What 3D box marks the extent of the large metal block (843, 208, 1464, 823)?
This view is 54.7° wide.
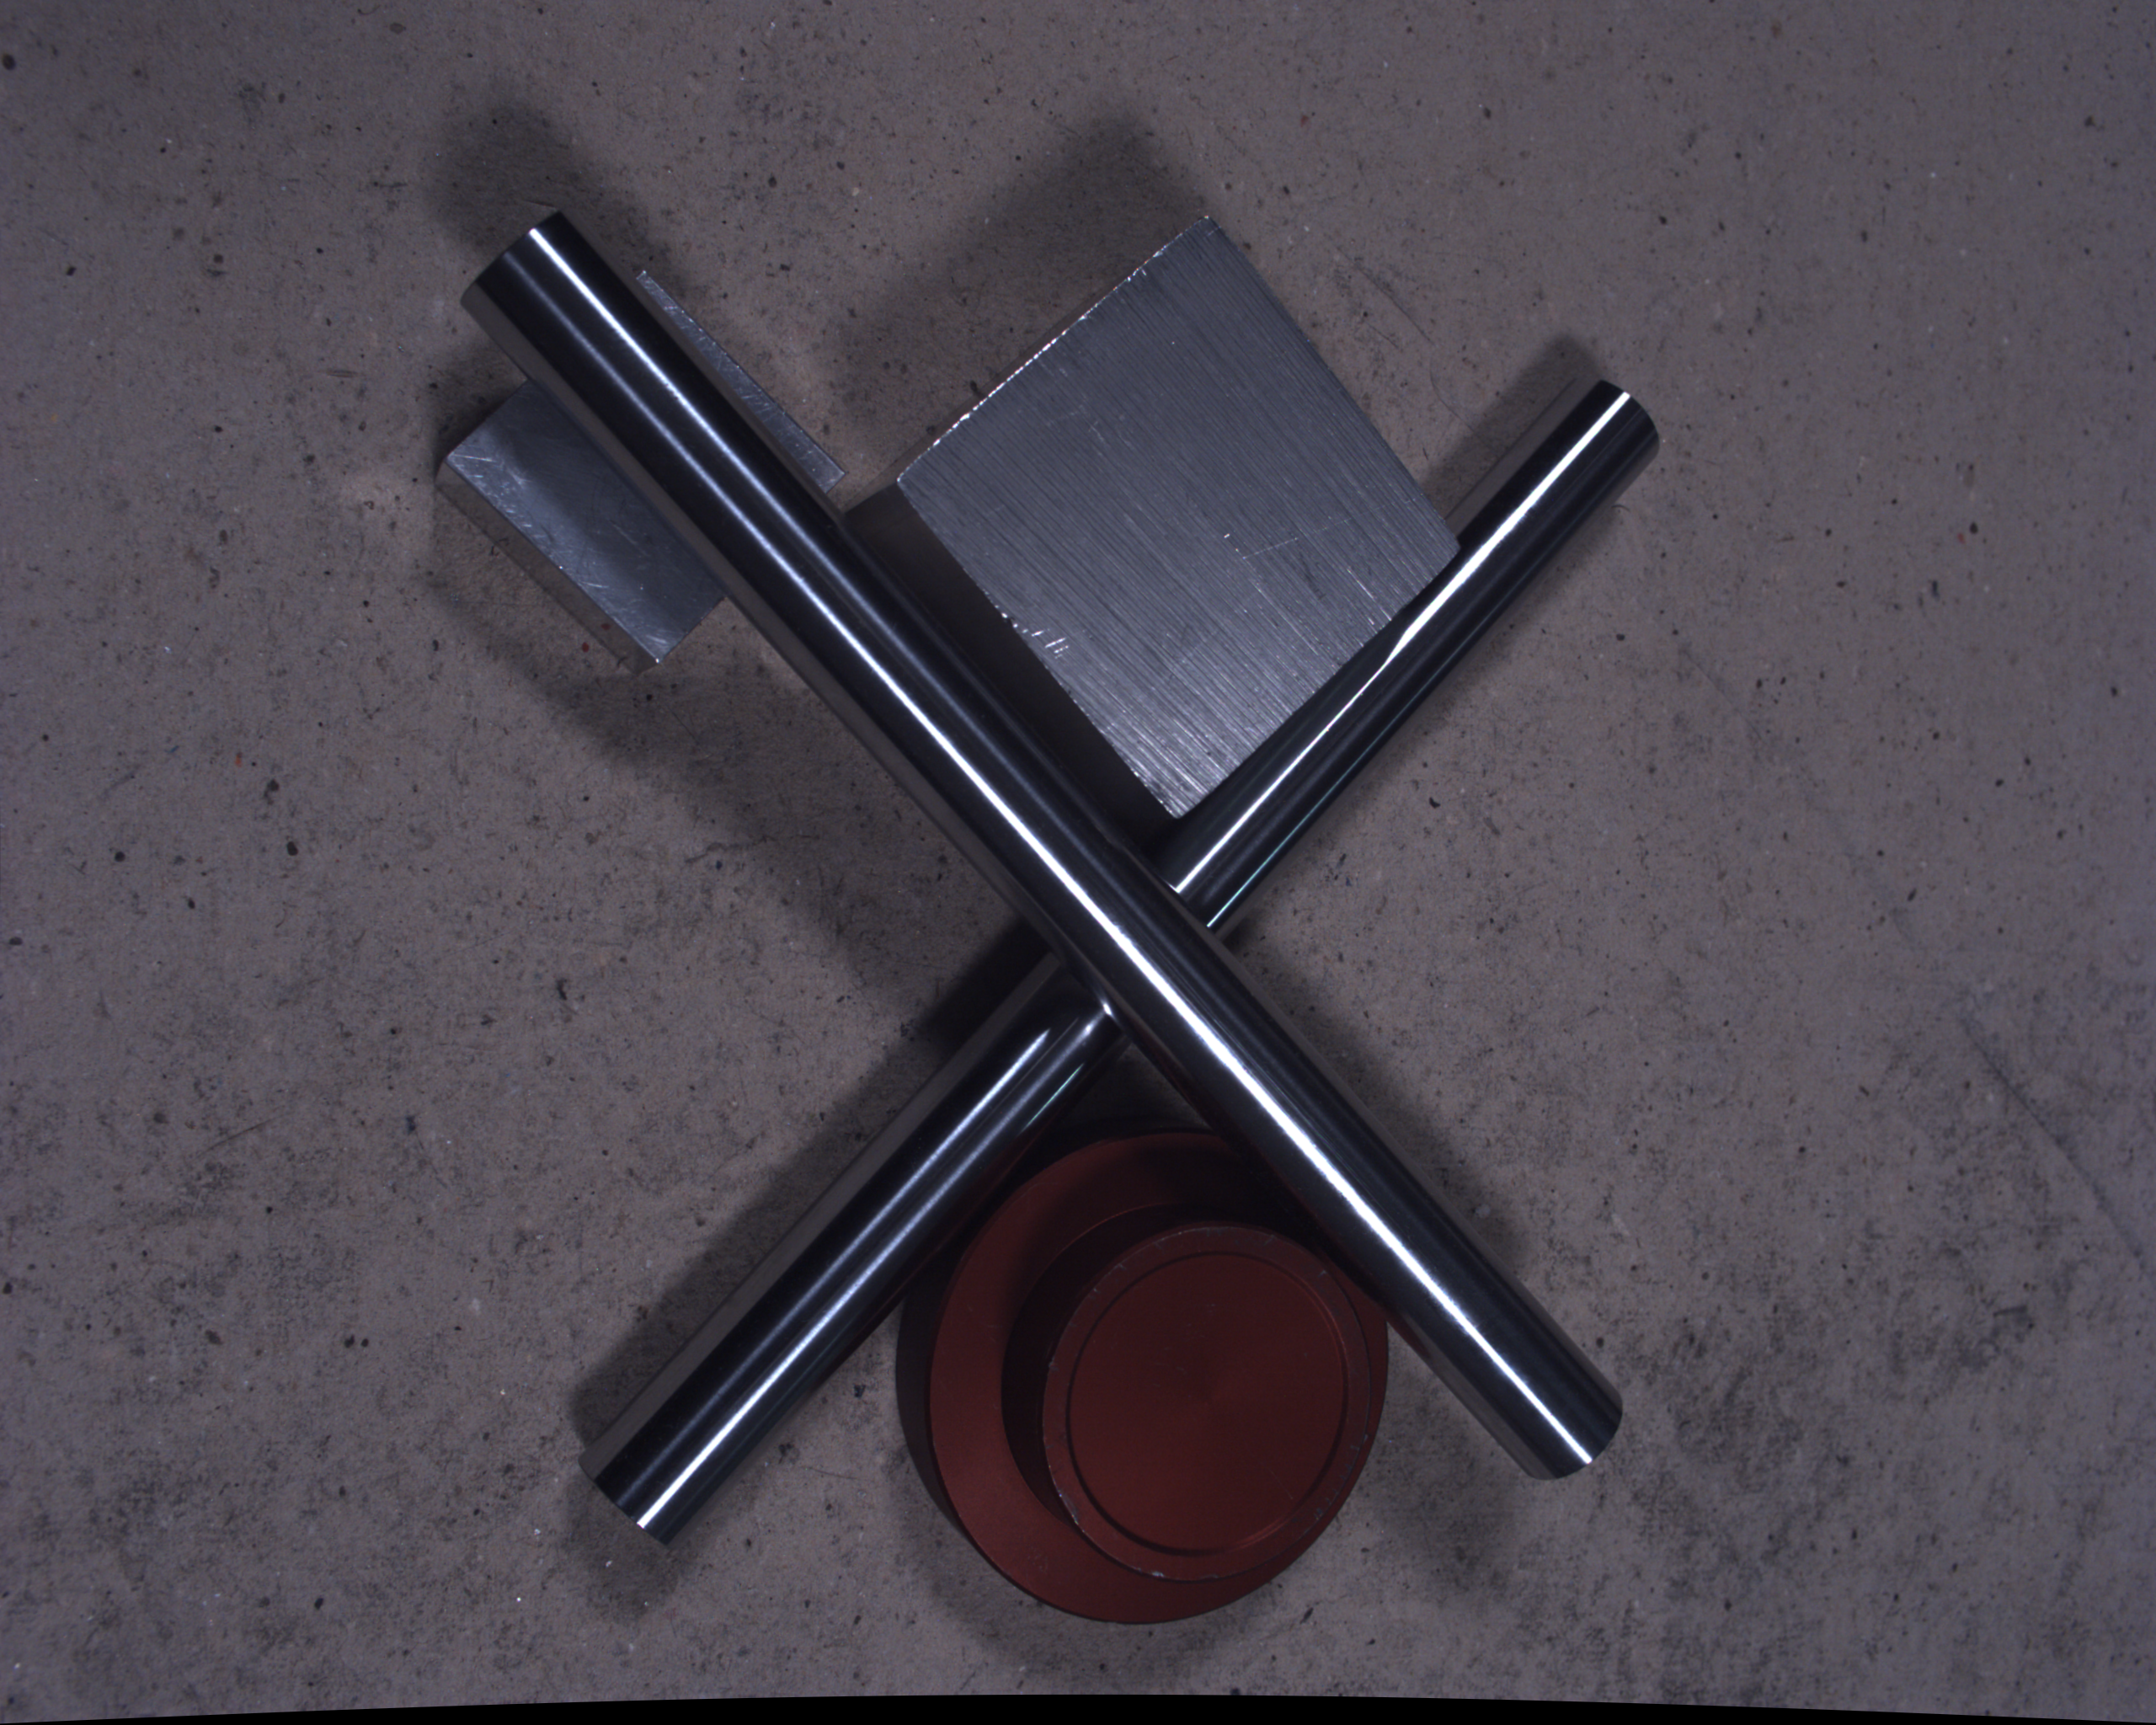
[{"bbox_3d":[0.012,-0.064,0.403,0.080,0.050,0.080,-44,104,-15],"label":"large metal block"}]

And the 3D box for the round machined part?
[{"bbox_3d":[0.018,0.101,0.409,0.099,0.042,0.097,0,90,-21],"label":"round machined part"}]

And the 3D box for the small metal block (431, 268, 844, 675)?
[{"bbox_3d":[-0.081,-0.071,0.382,0.050,0.025,0.050,45,76,-15],"label":"small metal block"}]

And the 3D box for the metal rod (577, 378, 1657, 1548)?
[{"bbox_3d":[0.017,0.010,0.419,0.025,0.025,0.301,47,75,-15],"label":"metal rod"}]

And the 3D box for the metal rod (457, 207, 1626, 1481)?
[{"bbox_3d":[0.003,0.007,0.385,0.025,0.025,0.300,-46,105,-14],"label":"metal rod"}]
